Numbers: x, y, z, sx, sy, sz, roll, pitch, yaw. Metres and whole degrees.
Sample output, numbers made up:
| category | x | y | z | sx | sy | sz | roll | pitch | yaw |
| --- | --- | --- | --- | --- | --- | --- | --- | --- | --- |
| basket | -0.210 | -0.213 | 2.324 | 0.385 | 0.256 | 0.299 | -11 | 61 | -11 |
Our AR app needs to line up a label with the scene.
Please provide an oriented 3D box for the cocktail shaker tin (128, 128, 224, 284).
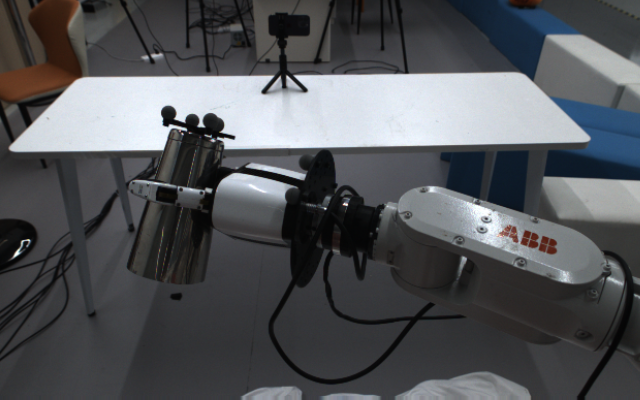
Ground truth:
| category | x | y | z | sx | sy | sz | roll | pitch | yaw |
| --- | --- | --- | --- | --- | --- | --- | --- | --- | --- |
| cocktail shaker tin | -0.166 | 0.007 | 0.583 | 0.093 | 0.170 | 0.093 | 13 | 2 | 0 |
